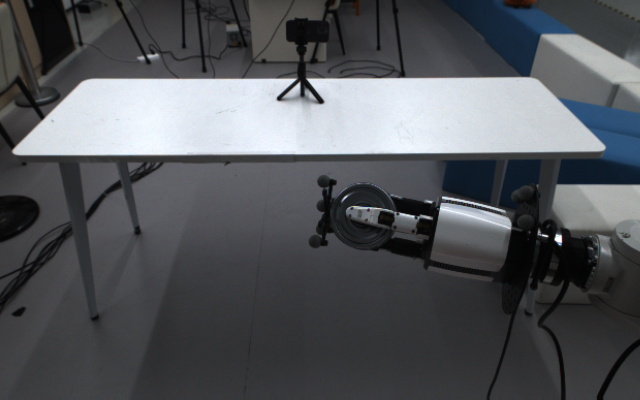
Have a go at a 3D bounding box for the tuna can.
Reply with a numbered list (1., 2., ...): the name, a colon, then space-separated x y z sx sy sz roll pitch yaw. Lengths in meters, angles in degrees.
1. tuna can: 0.060 0.024 0.620 0.085 0.085 0.034 9 -6 10
